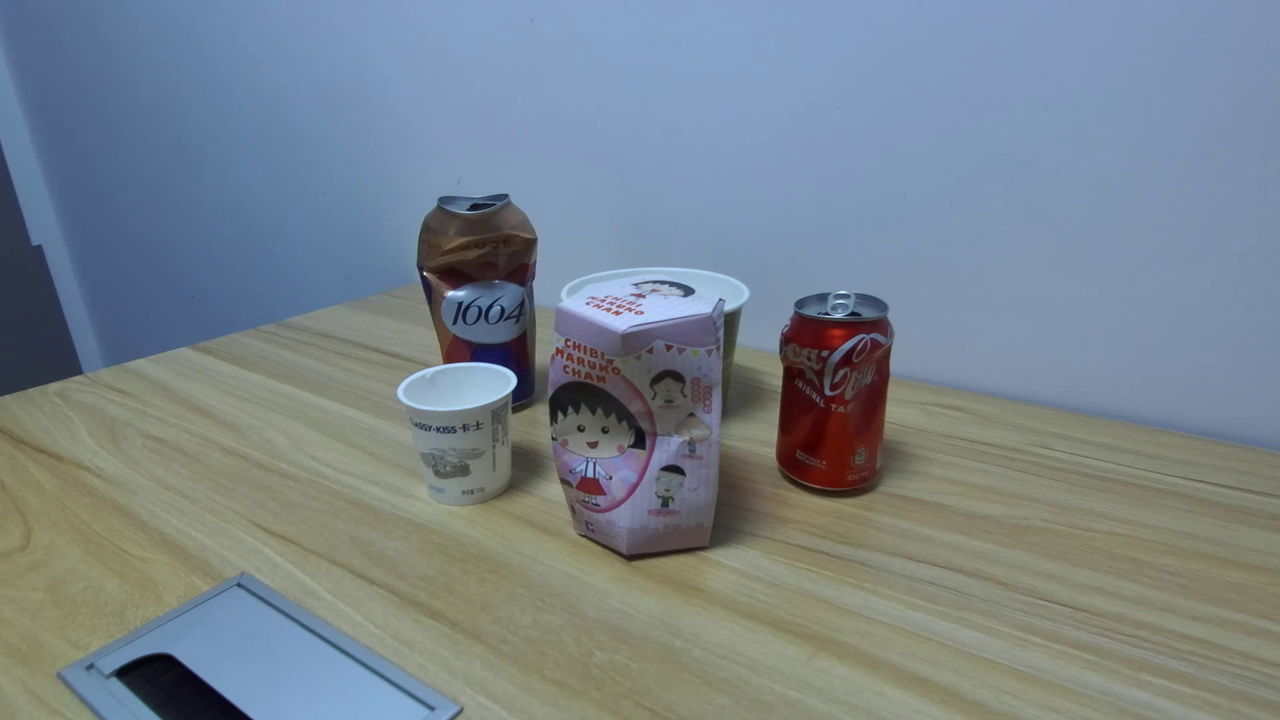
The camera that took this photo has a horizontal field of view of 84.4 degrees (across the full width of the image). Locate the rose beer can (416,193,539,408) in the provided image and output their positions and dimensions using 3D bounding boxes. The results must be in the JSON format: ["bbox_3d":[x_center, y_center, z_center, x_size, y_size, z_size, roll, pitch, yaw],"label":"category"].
[{"bbox_3d":[-0.118,-0.041,0.537,0.074,0.162,0.067,-20,25,-40],"label":"rose beer can"}]

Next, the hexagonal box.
[{"bbox_3d":[0.001,0.029,0.387,0.088,0.134,0.093,2,22,7],"label":"hexagonal box"}]

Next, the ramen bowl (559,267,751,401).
[{"bbox_3d":[0.009,-0.008,0.520,0.140,0.095,0.140,0,21,0],"label":"ramen bowl"}]

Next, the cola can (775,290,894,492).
[{"bbox_3d":[0.119,0.018,0.433,0.066,0.117,0.066,-13,25,-28],"label":"cola can"}]

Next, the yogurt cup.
[{"bbox_3d":[-0.109,0.046,0.437,0.072,0.068,0.072,-1,22,1],"label":"yogurt cup"}]
